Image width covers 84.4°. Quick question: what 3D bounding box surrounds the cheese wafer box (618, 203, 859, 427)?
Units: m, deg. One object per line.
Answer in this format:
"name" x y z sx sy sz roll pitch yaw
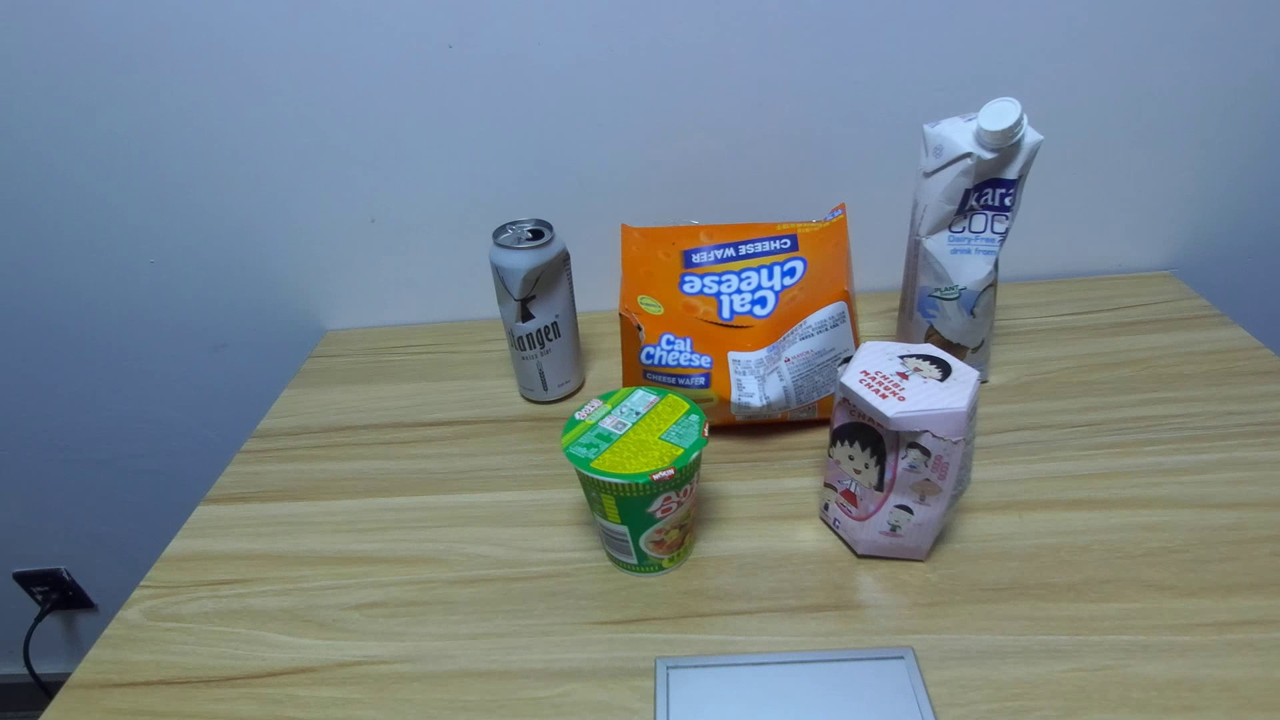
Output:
"cheese wafer box" 0.090 -0.033 0.634 0.219 0.145 0.191 -3 34 4

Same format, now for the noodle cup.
"noodle cup" 0.000 0.092 0.500 0.097 0.110 0.097 -3 34 2

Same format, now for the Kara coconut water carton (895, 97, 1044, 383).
"Kara coconut water carton" 0.268 -0.094 0.597 0.083 0.256 0.078 -4 36 5

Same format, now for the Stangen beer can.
"Stangen beer can" -0.094 -0.043 0.659 0.070 0.173 0.069 -3 33 6

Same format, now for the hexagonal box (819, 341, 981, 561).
"hexagonal box" 0.177 0.062 0.490 0.090 0.135 0.091 5 35 11
